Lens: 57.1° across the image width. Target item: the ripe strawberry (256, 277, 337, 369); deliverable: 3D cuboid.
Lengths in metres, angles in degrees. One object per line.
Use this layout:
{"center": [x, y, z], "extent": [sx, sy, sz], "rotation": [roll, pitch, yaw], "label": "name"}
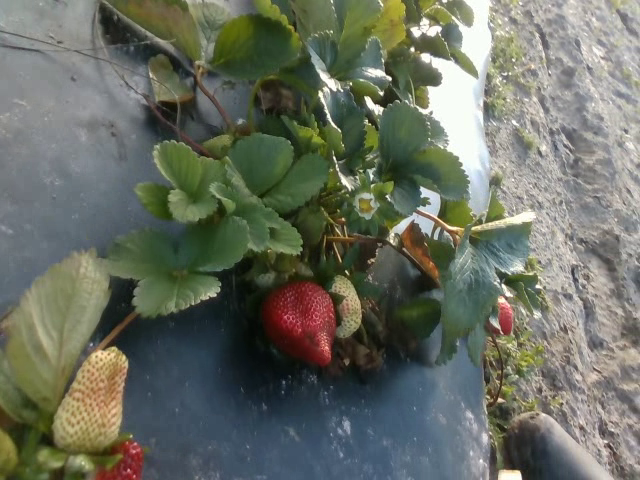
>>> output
{"center": [-0.010, 0.056, 0.370], "extent": [0.057, 0.058, 0.070], "rotation": [-10, 5, -4], "label": "ripe strawberry"}
